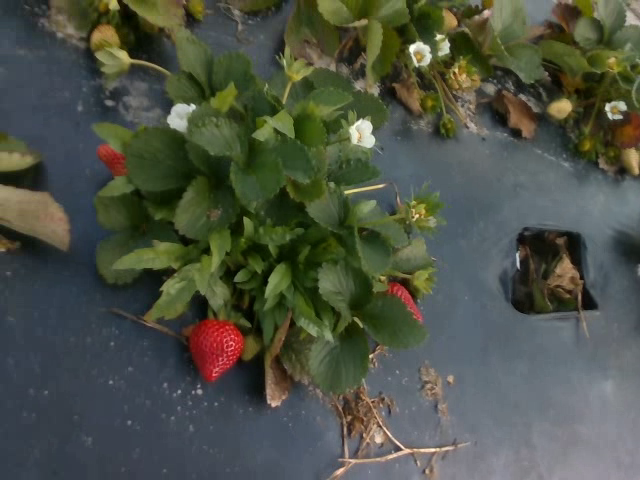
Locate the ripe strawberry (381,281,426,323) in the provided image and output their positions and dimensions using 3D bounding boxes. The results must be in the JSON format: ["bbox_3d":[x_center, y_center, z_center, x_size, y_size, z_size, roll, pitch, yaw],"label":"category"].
[{"bbox_3d":[0.065,0.056,0.532,0.046,0.043,0.047,29,-11,10],"label":"ripe strawberry"}]

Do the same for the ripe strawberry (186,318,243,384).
[{"bbox_3d":[-0.077,0.079,0.456,0.043,0.050,0.042,20,-32,-22],"label":"ripe strawberry"}]
